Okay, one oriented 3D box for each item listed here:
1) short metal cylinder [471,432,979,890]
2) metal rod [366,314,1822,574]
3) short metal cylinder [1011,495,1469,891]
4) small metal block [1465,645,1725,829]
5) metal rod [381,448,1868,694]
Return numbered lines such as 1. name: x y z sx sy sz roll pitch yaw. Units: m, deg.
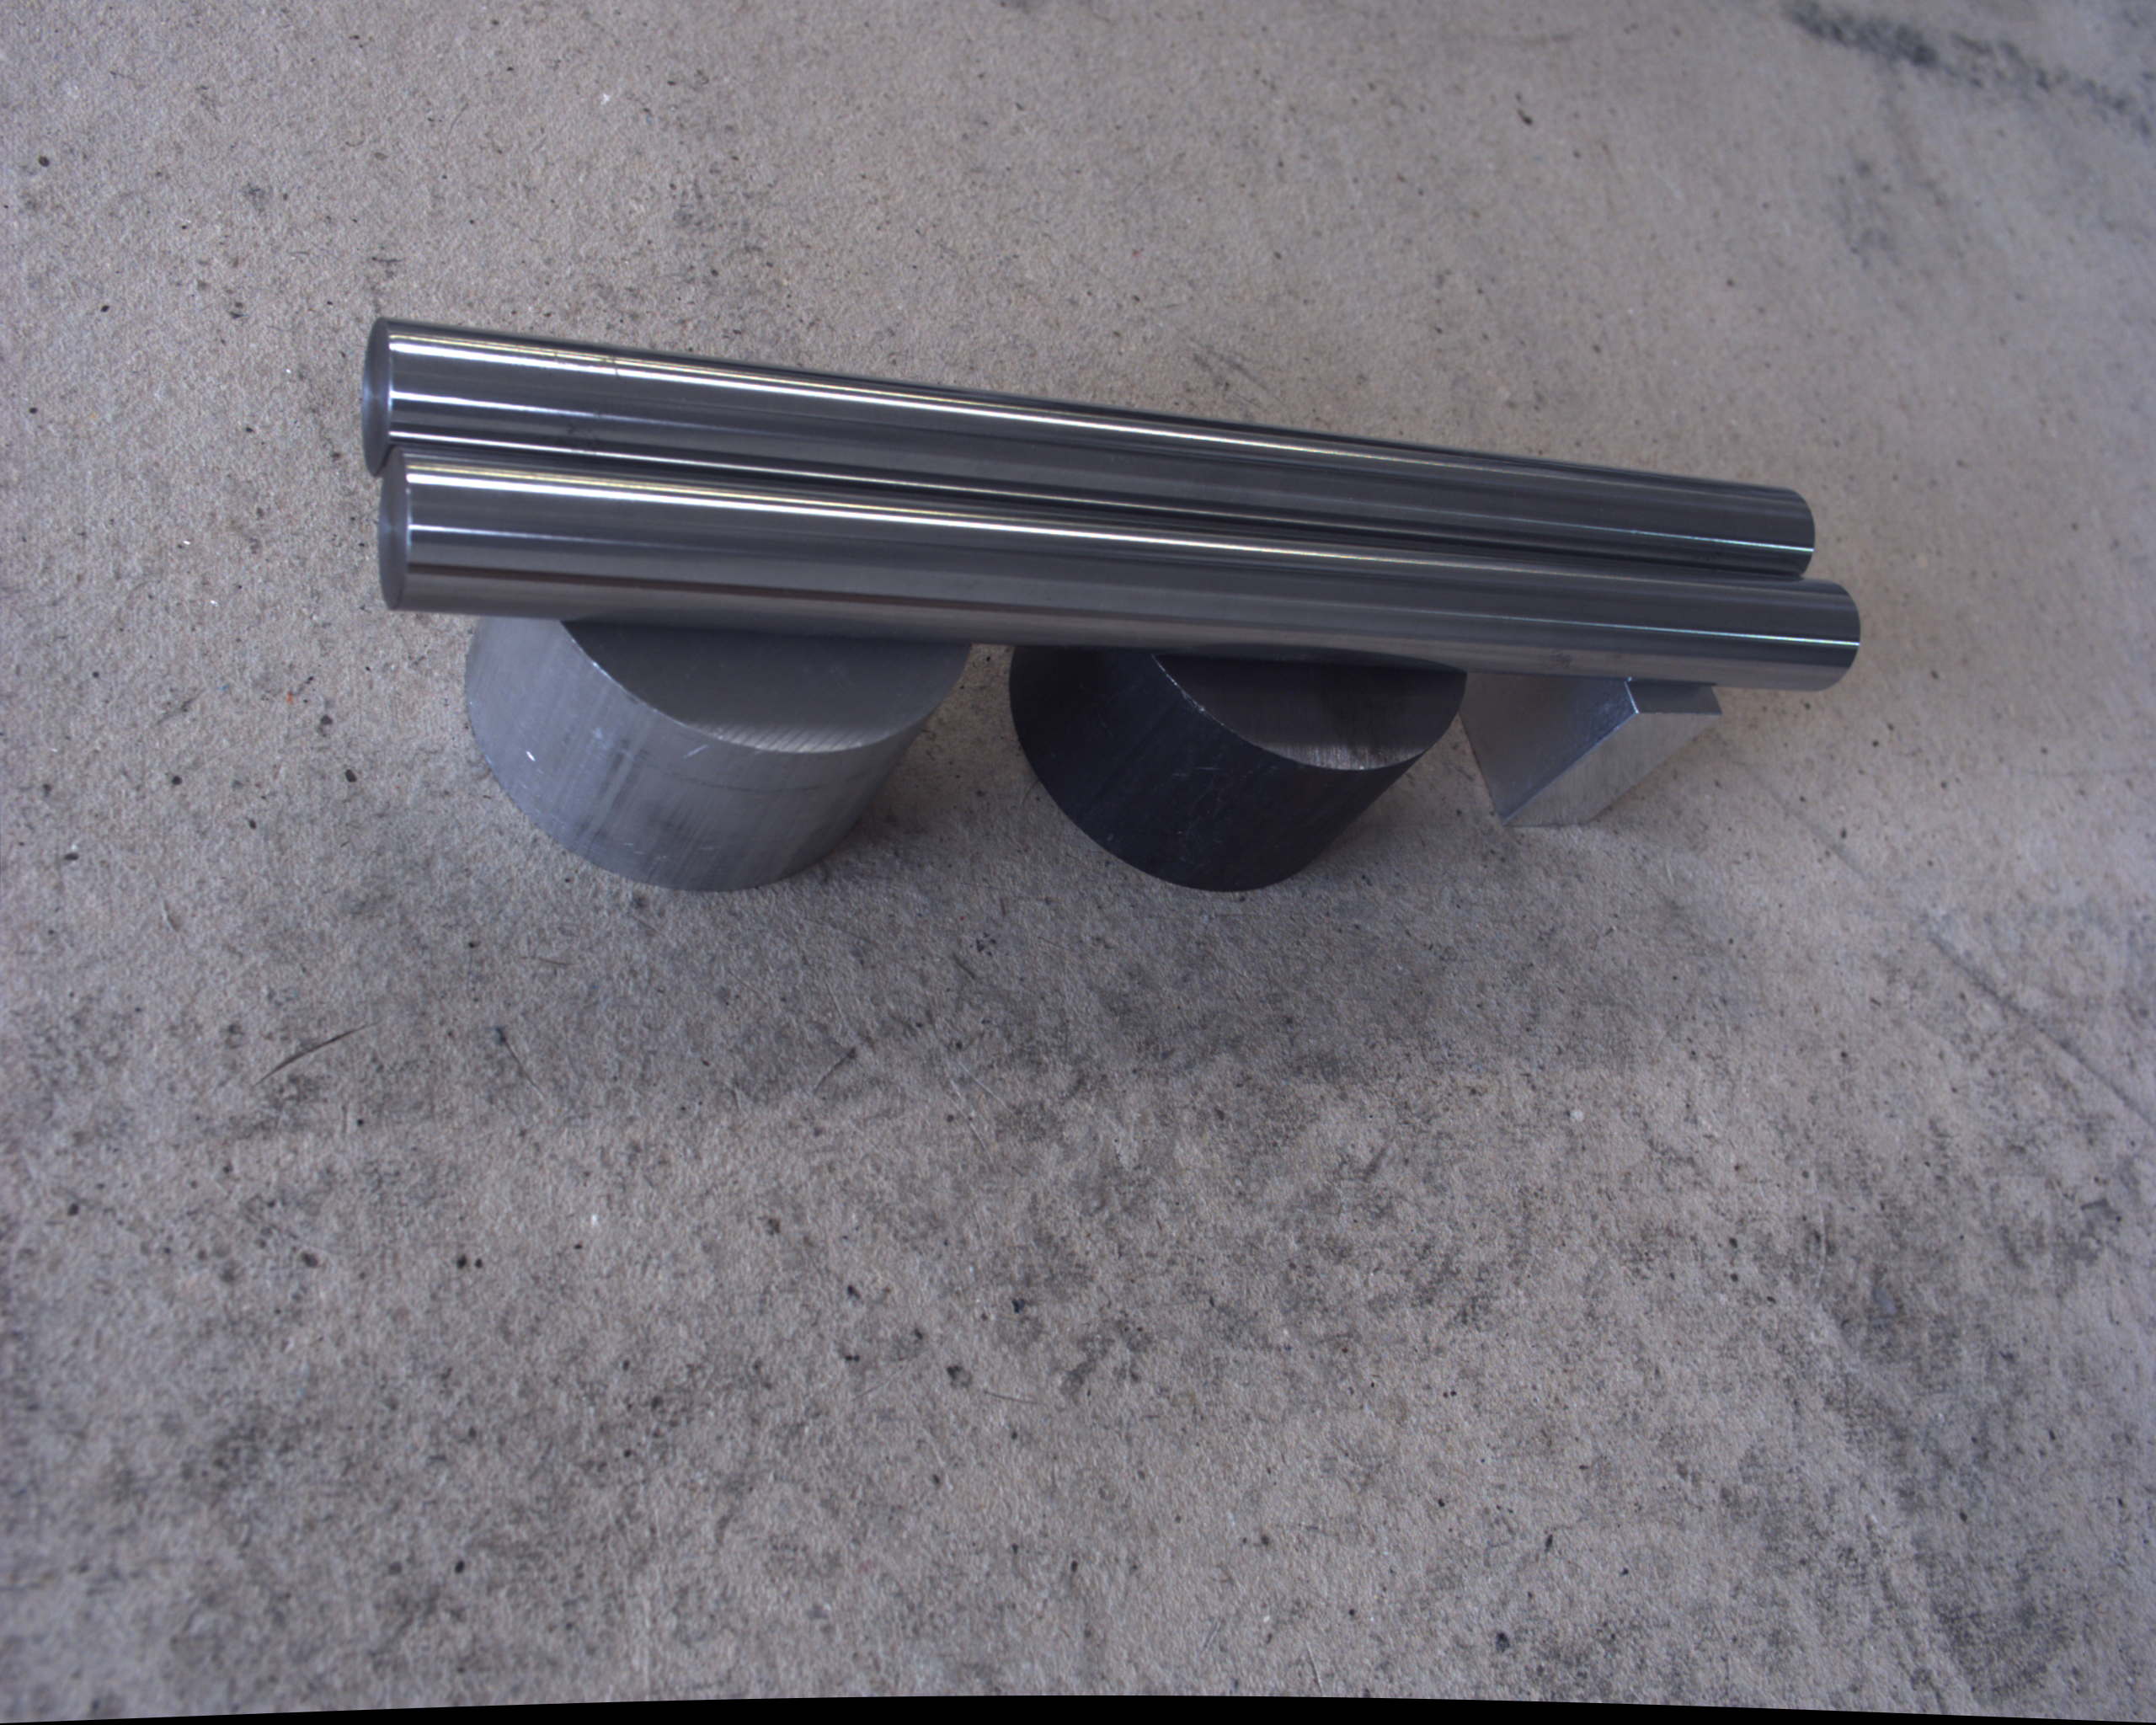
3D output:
1. short metal cylinder: -0.064 -0.042 0.379 0.081 0.050 0.080 14 56 -21
2. metal rod: 0.024 -0.073 0.397 0.303 0.025 0.025 0 62 -28
3. short metal cylinder: 0.033 -0.041 0.432 0.081 0.050 0.080 14 56 -21
4. small metal block: 0.113 -0.042 0.477 0.025 0.050 0.050 -1 62 -29
5. metal rod: 0.030 -0.050 0.387 0.303 0.025 0.025 0 62 -28
